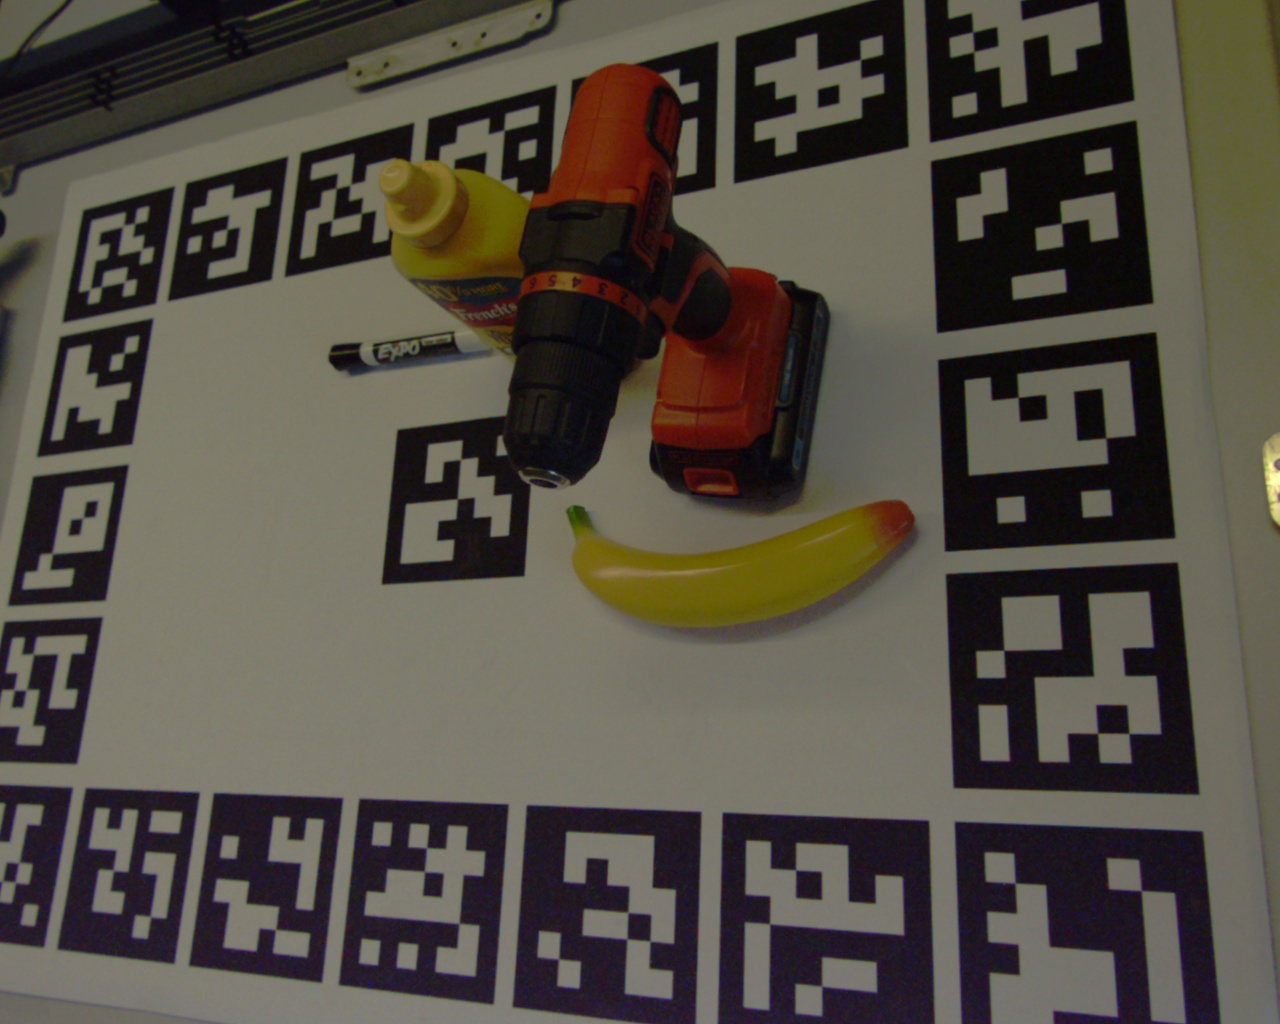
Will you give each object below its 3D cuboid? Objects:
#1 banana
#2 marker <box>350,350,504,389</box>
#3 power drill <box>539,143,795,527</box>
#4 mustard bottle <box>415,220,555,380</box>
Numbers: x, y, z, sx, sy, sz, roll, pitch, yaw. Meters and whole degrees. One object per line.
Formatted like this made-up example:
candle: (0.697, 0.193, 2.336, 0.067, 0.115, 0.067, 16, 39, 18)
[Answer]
banana: (0.045, 0.043, 0.649, 0.200, 0.038, 0.074, 4, 80, 28)
marker: (-0.150, -0.098, 0.788, 0.122, 0.019, 0.019, -2, 77, 25)
power drill: (0.019, -0.065, 0.582, 0.058, 0.185, 0.184, 11, 79, 25)
mustard bottle: (-0.069, -0.117, 0.657, 0.097, 0.189, 0.058, 8, 80, 25)
